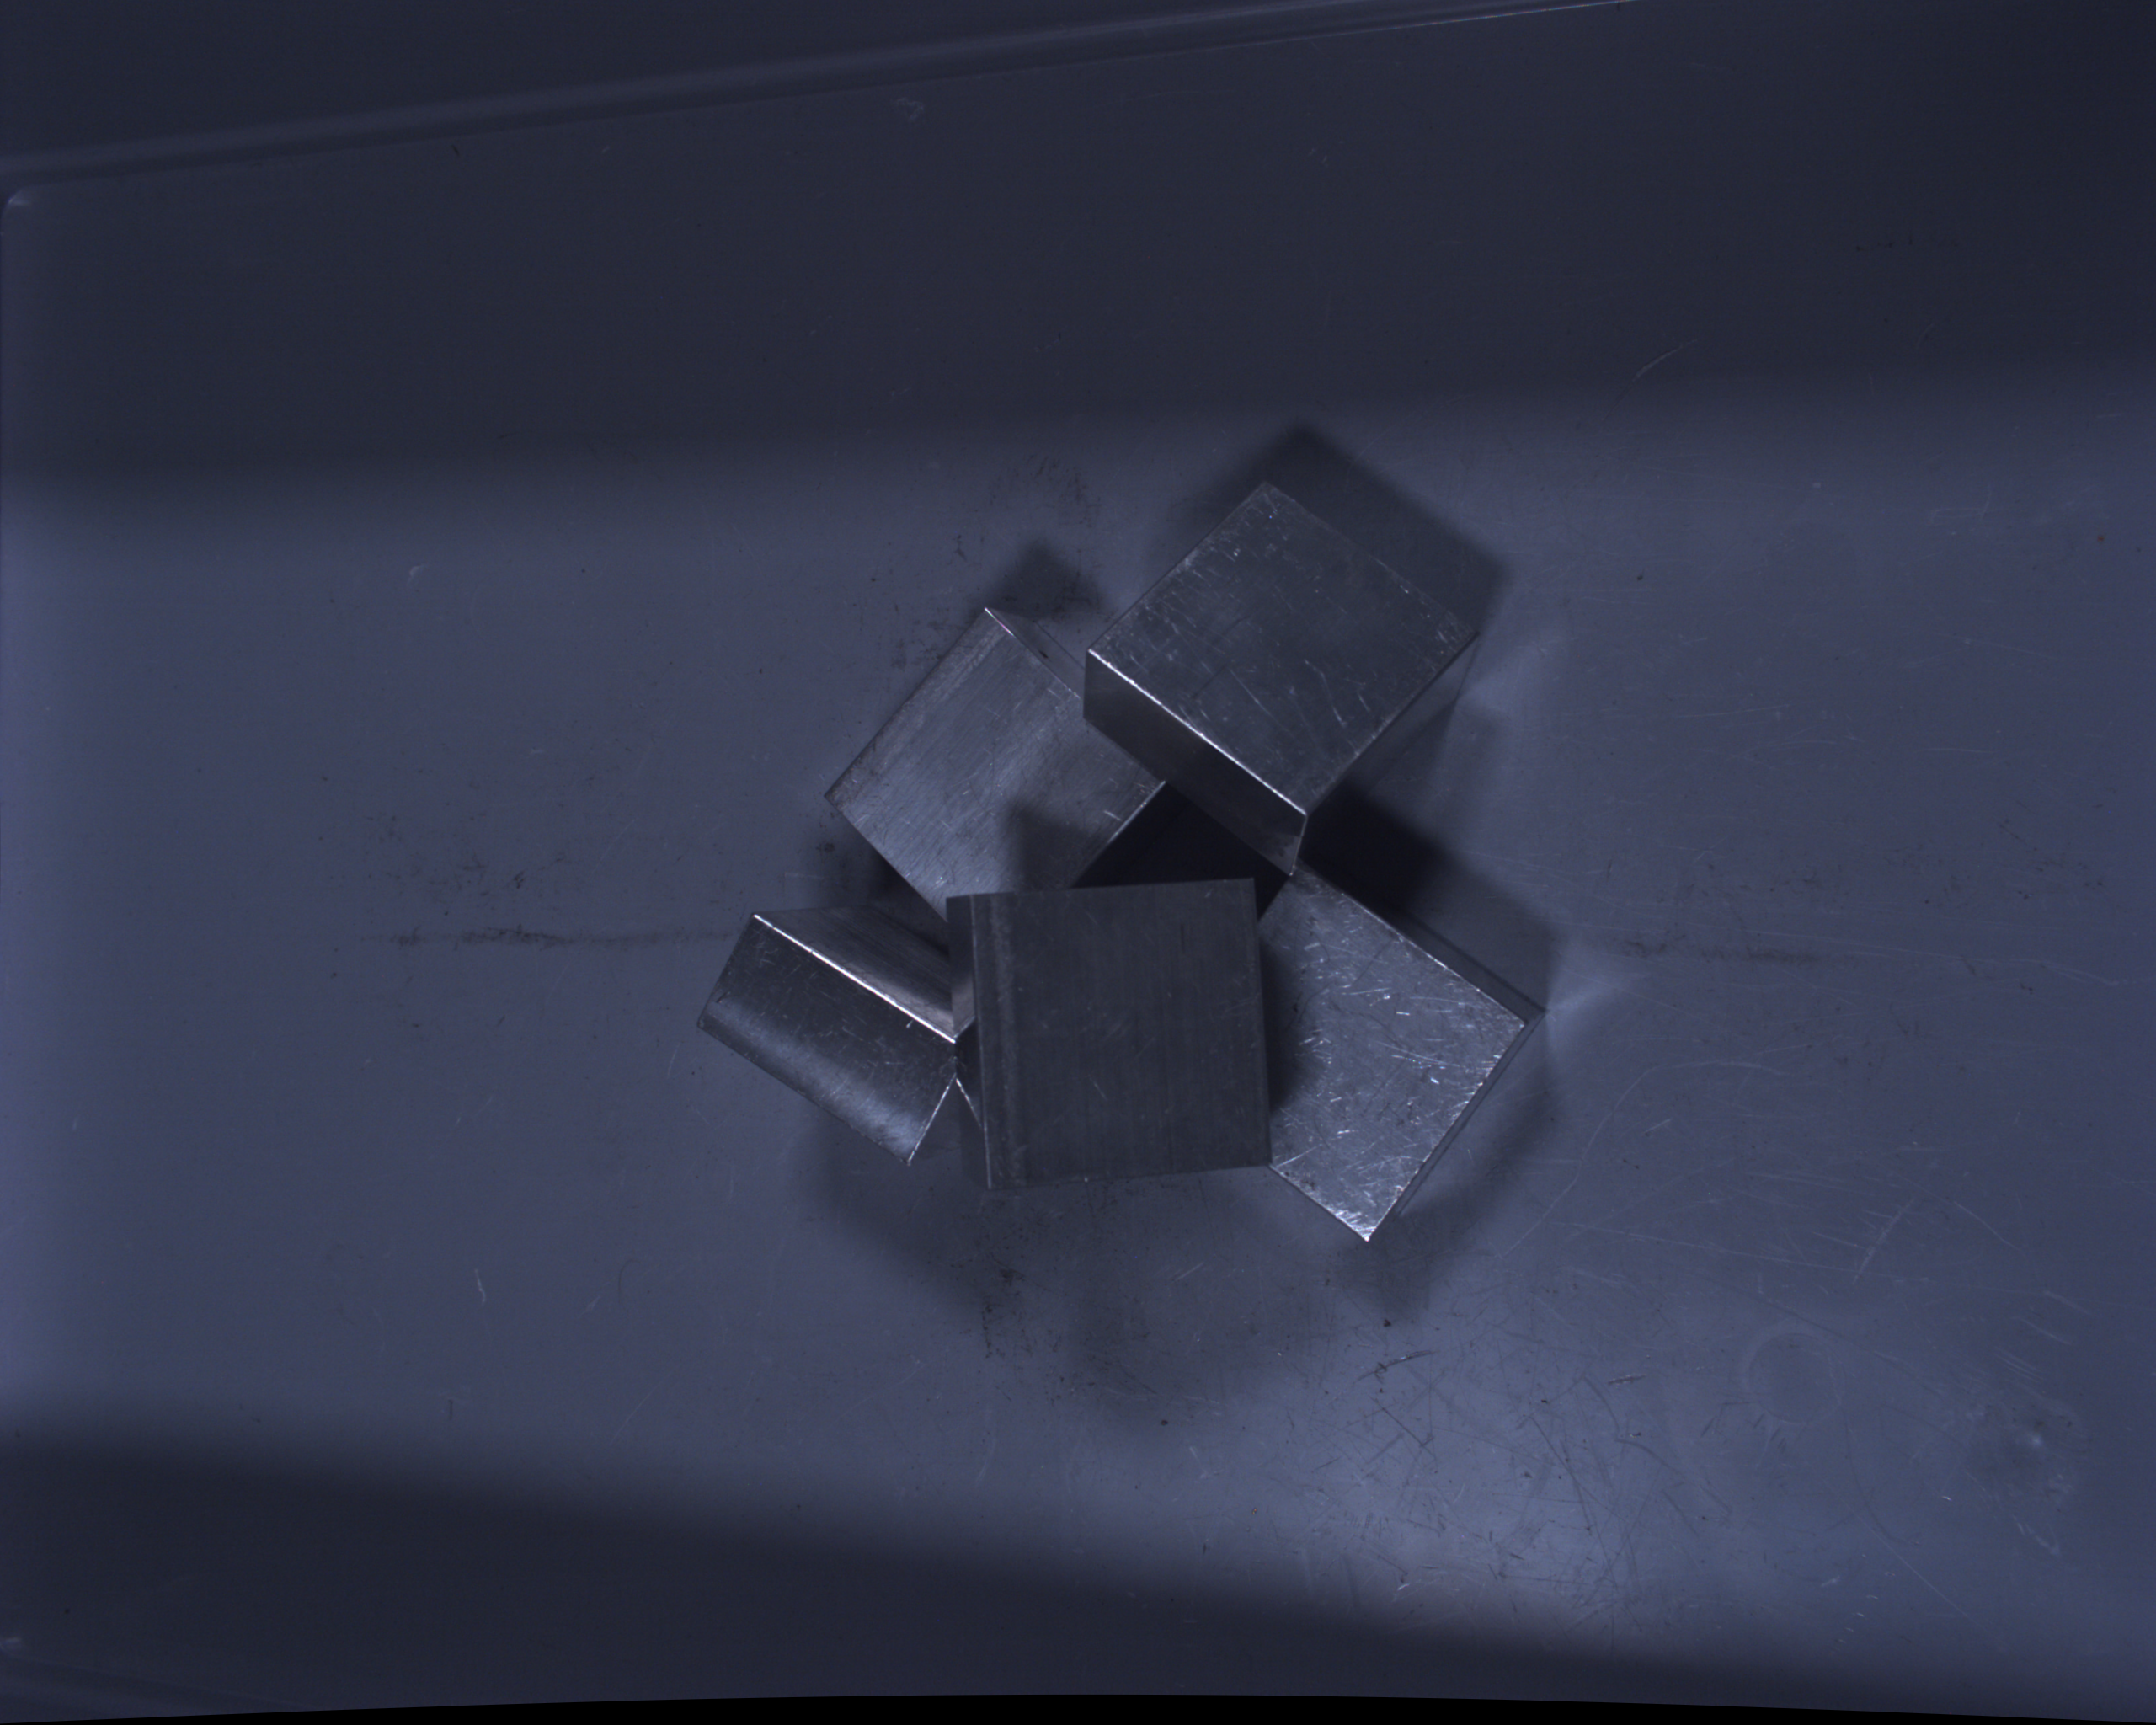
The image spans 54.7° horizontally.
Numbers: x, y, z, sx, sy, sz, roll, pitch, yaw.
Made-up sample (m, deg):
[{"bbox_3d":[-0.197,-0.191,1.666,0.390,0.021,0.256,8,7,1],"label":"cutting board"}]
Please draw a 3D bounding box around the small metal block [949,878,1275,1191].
[{"bbox_3d":[0.005,0.029,0.368,0.050,0.025,0.050,-3,89,-13],"label":"small metal block"}]

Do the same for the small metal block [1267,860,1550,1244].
[{"bbox_3d":[0.051,0.034,0.390,0.050,0.025,0.050,37,101,16],"label":"small metal block"}]

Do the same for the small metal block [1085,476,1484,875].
[{"bbox_3d":[0.037,-0.035,0.383,0.050,0.025,0.050,39,69,15],"label":"small metal block"}]

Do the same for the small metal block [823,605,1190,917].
[{"bbox_3d":[-0.013,-0.014,0.411,0.050,0.025,0.050,45,104,14],"label":"small metal block"}]

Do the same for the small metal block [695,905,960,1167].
[{"bbox_3d":[-0.037,0.032,0.407,0.050,0.050,0.025,31,100,17],"label":"small metal block"}]
